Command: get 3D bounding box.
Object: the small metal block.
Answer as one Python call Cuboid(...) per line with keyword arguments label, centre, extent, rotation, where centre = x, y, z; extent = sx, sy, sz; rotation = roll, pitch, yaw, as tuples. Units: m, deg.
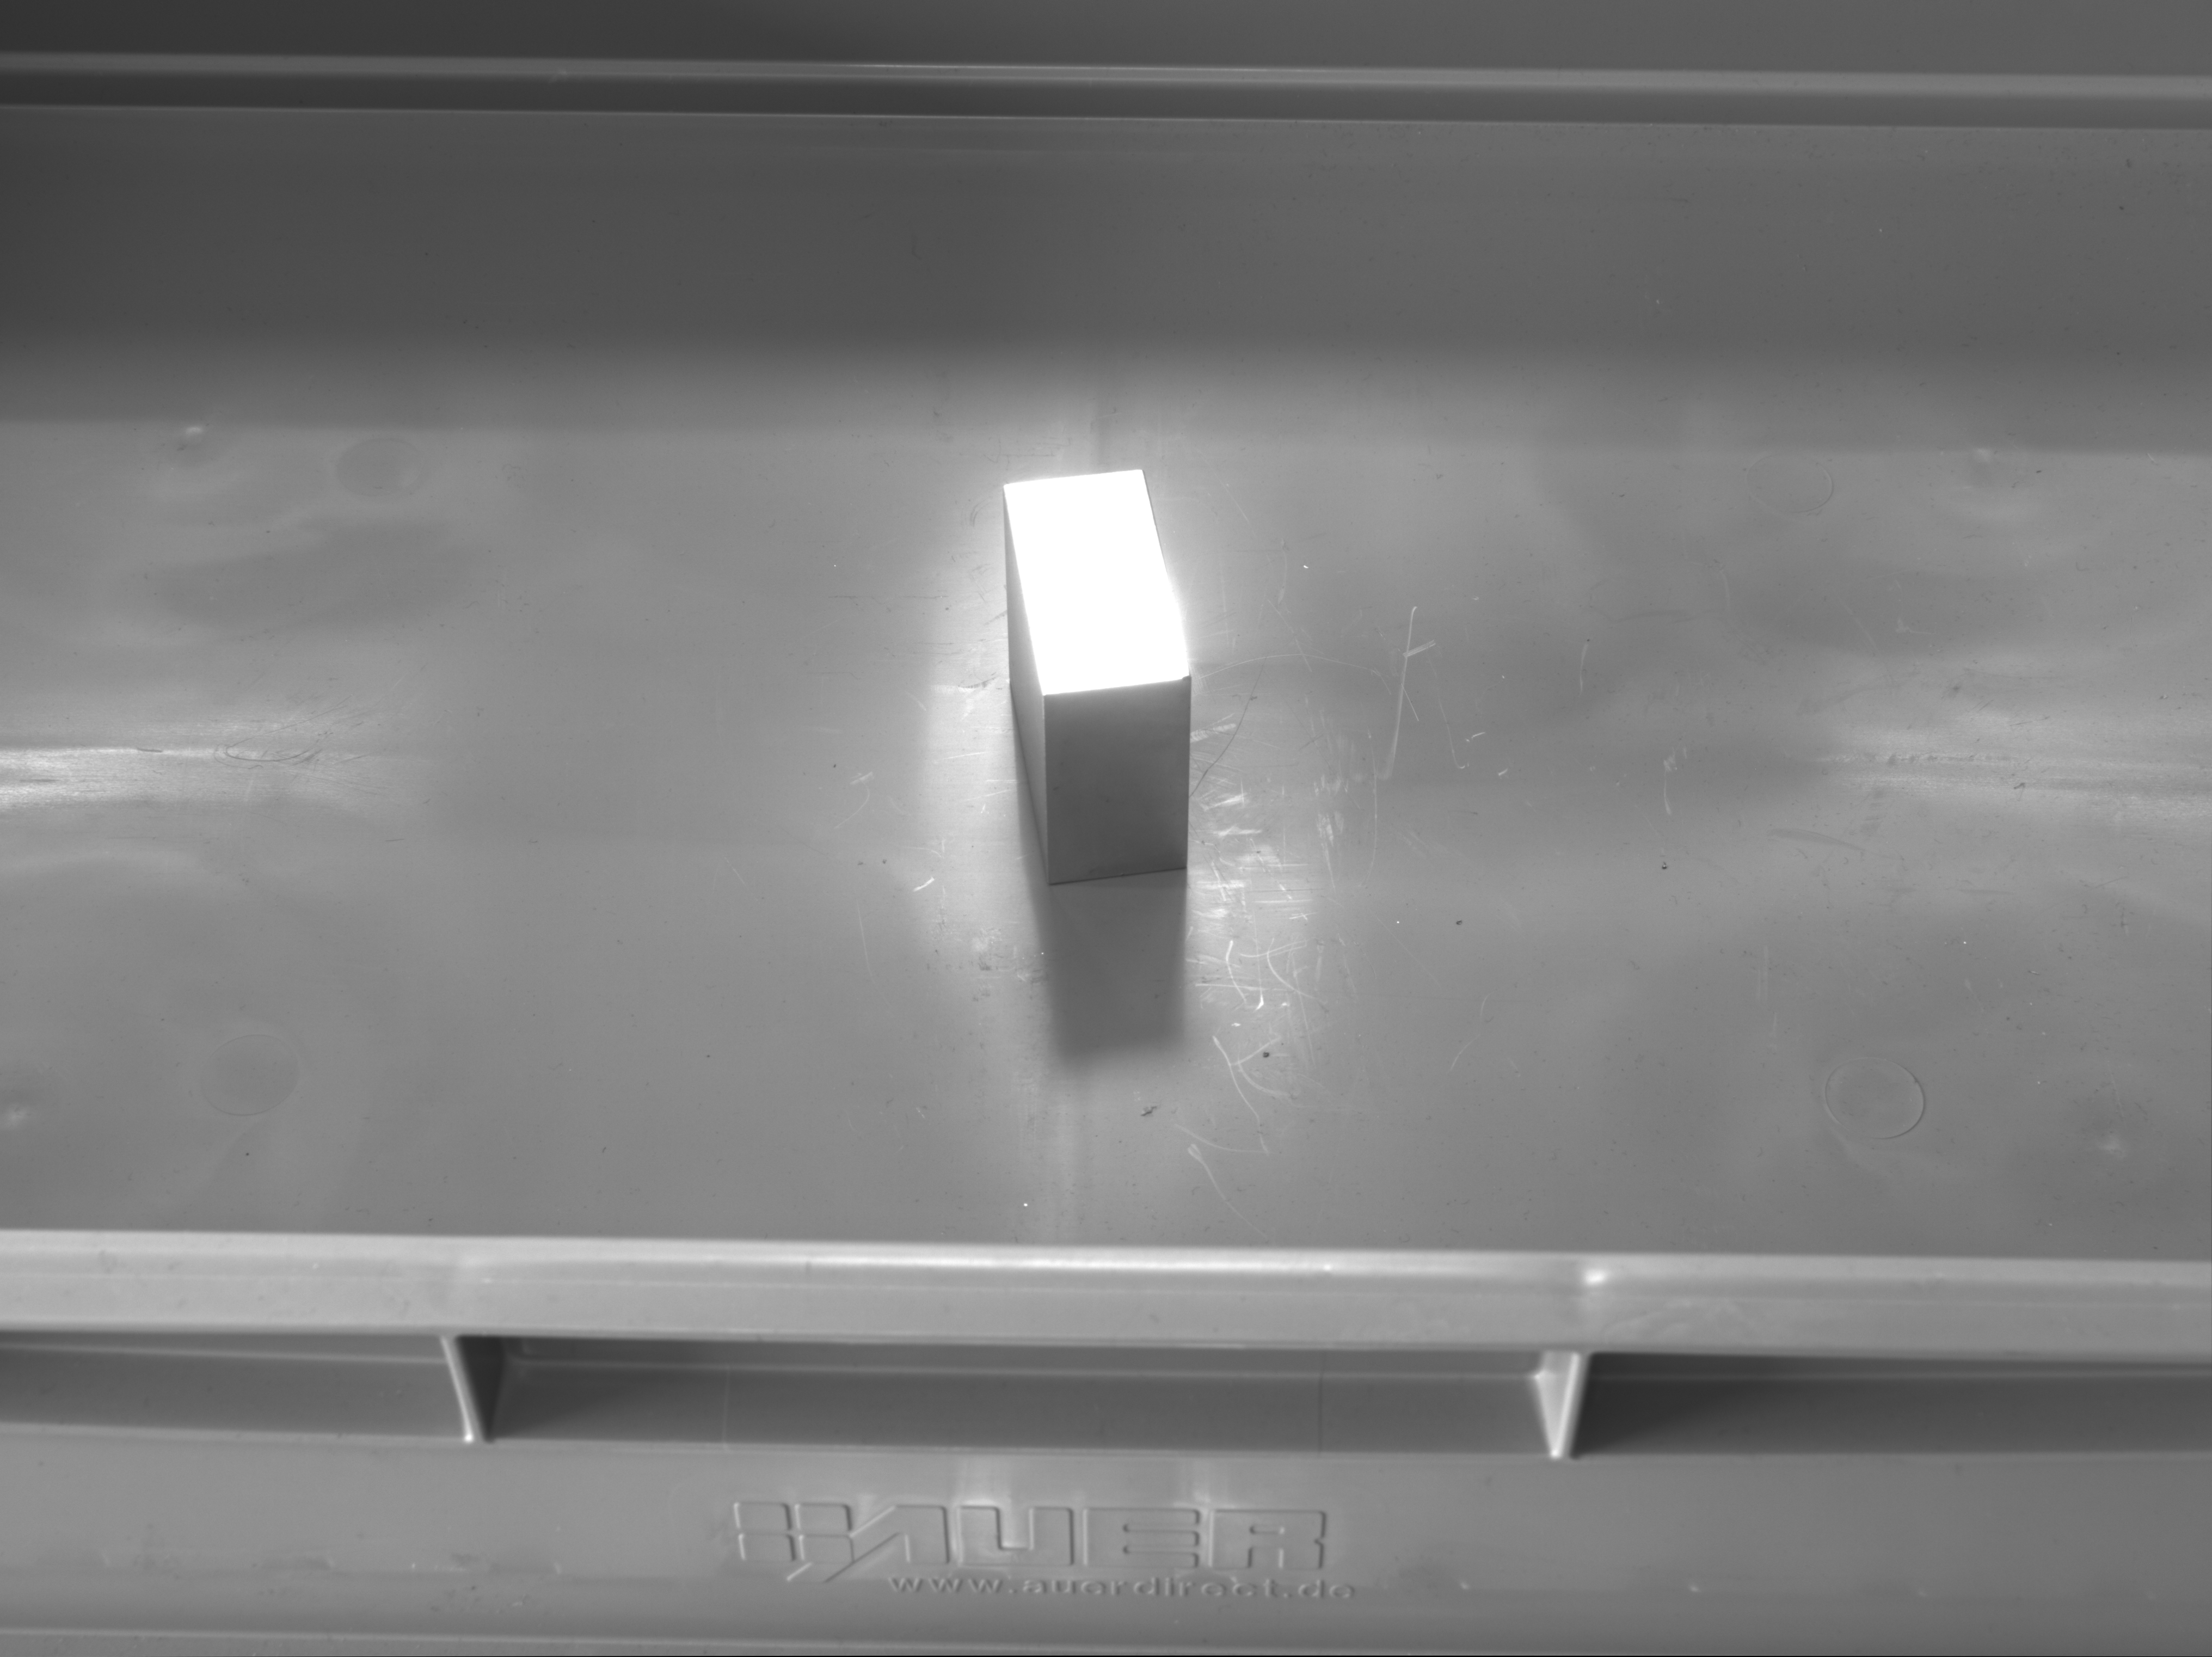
Cuboid(label="small metal block", centre=(-0.002, -0.026, 0.644), extent=(0.025, 0.050, 0.050), rotation=(-7, 50, -5))
